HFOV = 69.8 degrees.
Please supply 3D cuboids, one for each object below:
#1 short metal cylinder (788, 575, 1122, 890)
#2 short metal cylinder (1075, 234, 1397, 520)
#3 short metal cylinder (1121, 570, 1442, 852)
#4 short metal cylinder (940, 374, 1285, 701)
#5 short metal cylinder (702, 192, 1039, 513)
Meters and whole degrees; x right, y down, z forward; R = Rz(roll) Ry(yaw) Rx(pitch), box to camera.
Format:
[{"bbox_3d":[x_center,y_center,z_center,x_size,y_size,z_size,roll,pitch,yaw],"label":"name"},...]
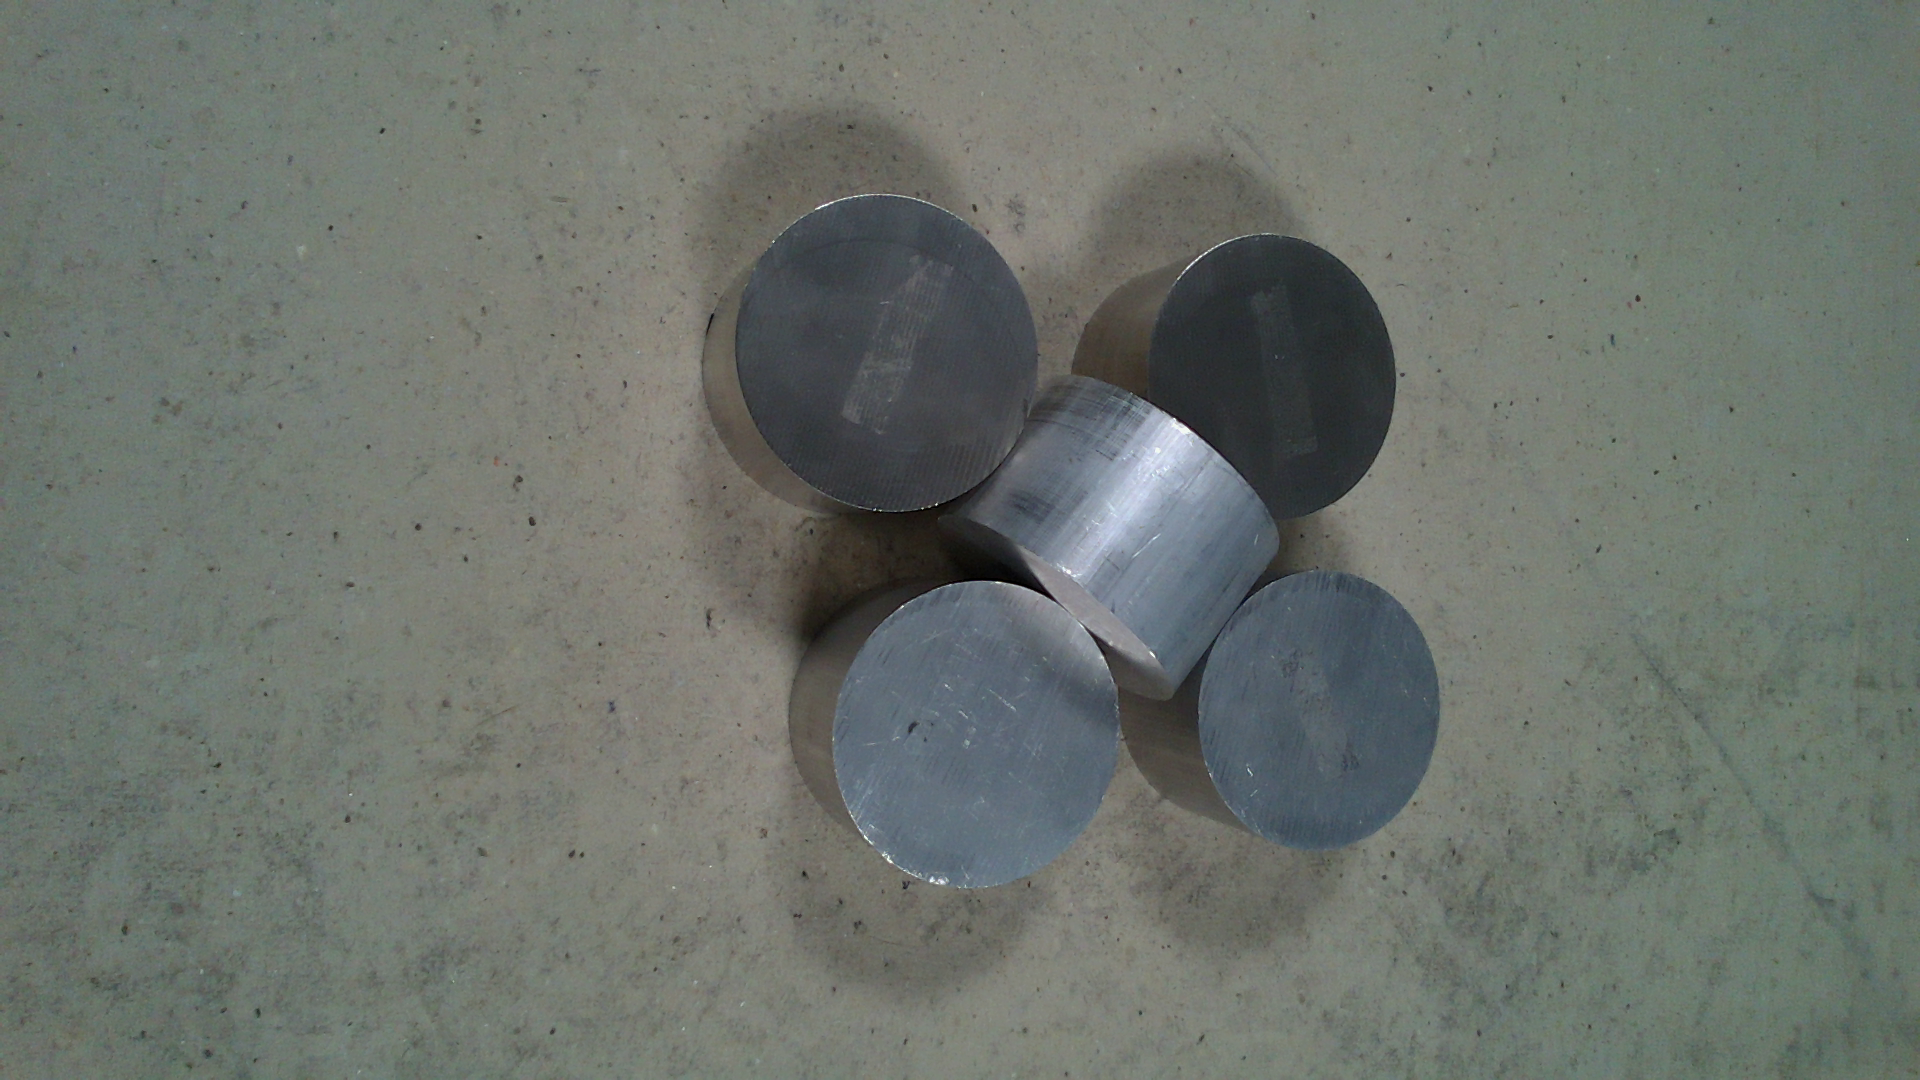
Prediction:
[{"bbox_3d":[-0.003,0.050,0.378,0.080,0.050,0.080,0,90,-20],"label":"short metal cylinder"},{"bbox_3d":[0.080,-0.045,0.407,0.080,0.050,0.080,0,90,-20],"label":"short metal cylinder"},{"bbox_3d":[0.096,0.049,0.414,0.080,0.050,0.080,0,90,-20],"label":"short metal cylinder"},{"bbox_3d":[0.041,0.000,0.380,0.080,0.080,0.050,41,77,-15],"label":"short metal cylinder"},{"bbox_3d":[-0.025,-0.047,0.370,0.080,0.050,0.080,0,90,-20],"label":"short metal cylinder"}]
